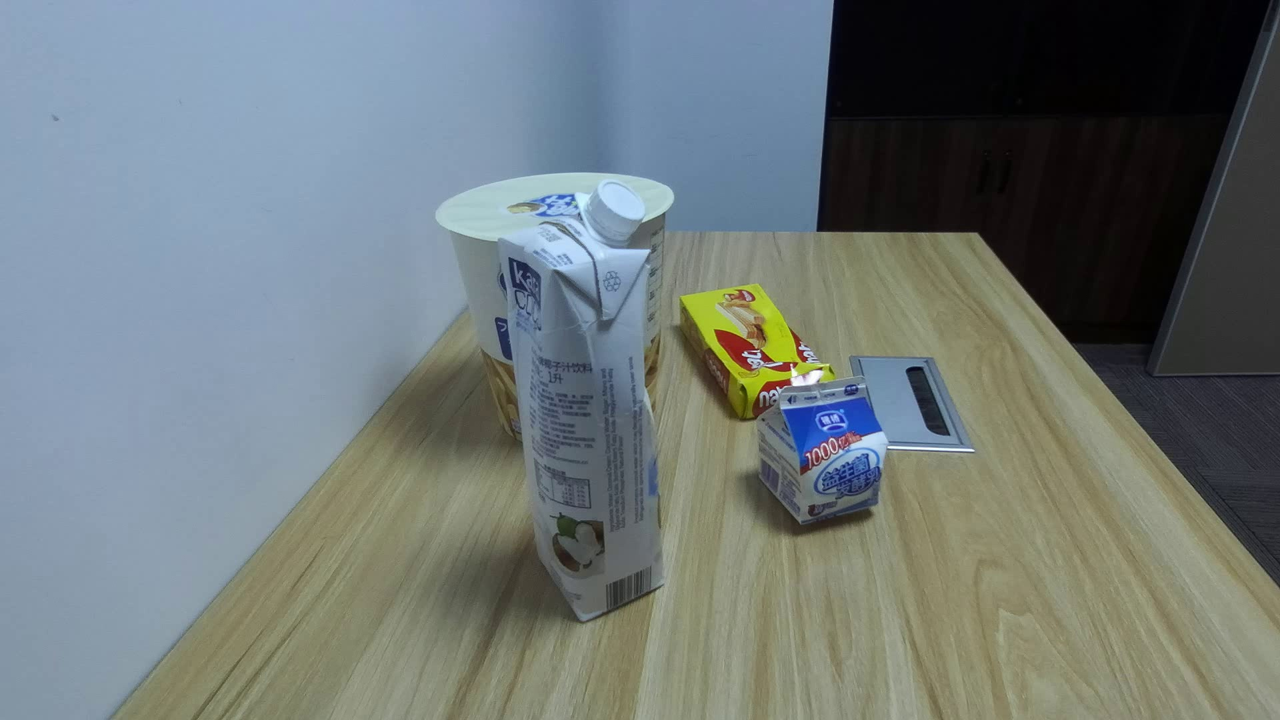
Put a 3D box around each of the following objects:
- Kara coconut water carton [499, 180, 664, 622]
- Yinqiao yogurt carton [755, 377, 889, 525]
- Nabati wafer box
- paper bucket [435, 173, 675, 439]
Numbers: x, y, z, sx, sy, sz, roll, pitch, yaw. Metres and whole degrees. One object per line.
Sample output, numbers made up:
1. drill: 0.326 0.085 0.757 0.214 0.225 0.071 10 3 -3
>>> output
1. Kara coconut water carton: -0.028 0.029 0.410 0.078 0.256 0.083 -8 28 -13
2. Yinqiao yogurt carton: 0.133 0.059 0.508 0.074 0.097 0.080 -9 21 -15
3. Nabati wafer box: 0.116 -0.014 0.706 0.107 0.042 0.203 -9 31 -10
4. paper bucket: -0.062 -0.045 0.616 0.198 0.195 0.198 -2 28 1
